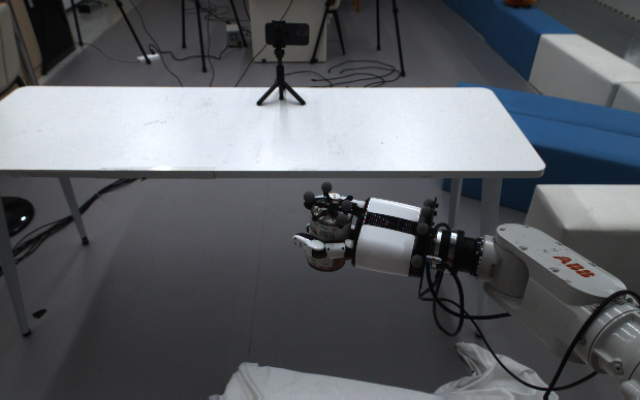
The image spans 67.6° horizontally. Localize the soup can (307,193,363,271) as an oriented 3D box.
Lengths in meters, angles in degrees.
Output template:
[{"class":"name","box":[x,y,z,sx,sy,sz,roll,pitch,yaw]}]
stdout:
[{"class":"soup can","box":[0.015,0.057,0.778,0.067,0.101,0.067,5,37,-3]}]
